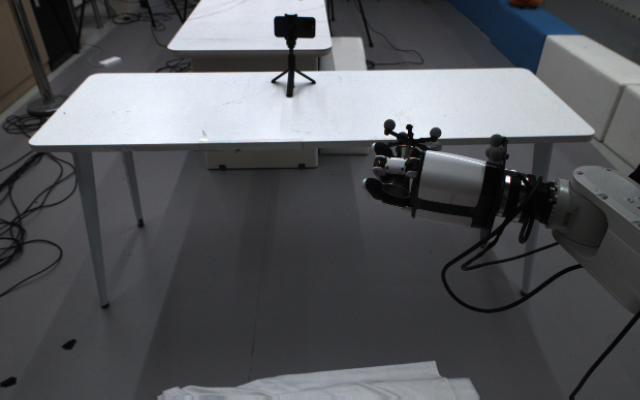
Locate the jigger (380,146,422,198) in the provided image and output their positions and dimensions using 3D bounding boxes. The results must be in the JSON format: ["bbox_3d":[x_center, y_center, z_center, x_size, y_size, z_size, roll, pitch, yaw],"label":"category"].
[{"bbox_3d":[0.124,-0.044,0.713,0.043,0.043,0.071,13,69,15],"label":"jigger"}]
